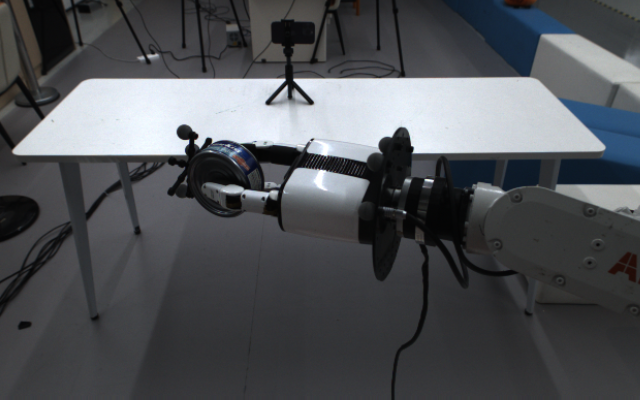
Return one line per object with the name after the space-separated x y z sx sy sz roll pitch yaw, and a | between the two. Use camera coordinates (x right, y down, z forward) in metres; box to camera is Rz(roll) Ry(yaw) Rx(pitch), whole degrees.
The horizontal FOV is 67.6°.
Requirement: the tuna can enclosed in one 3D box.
-0.105 -0.019 0.557 0.085 0.085 0.034 14 31 16 | tuna can
